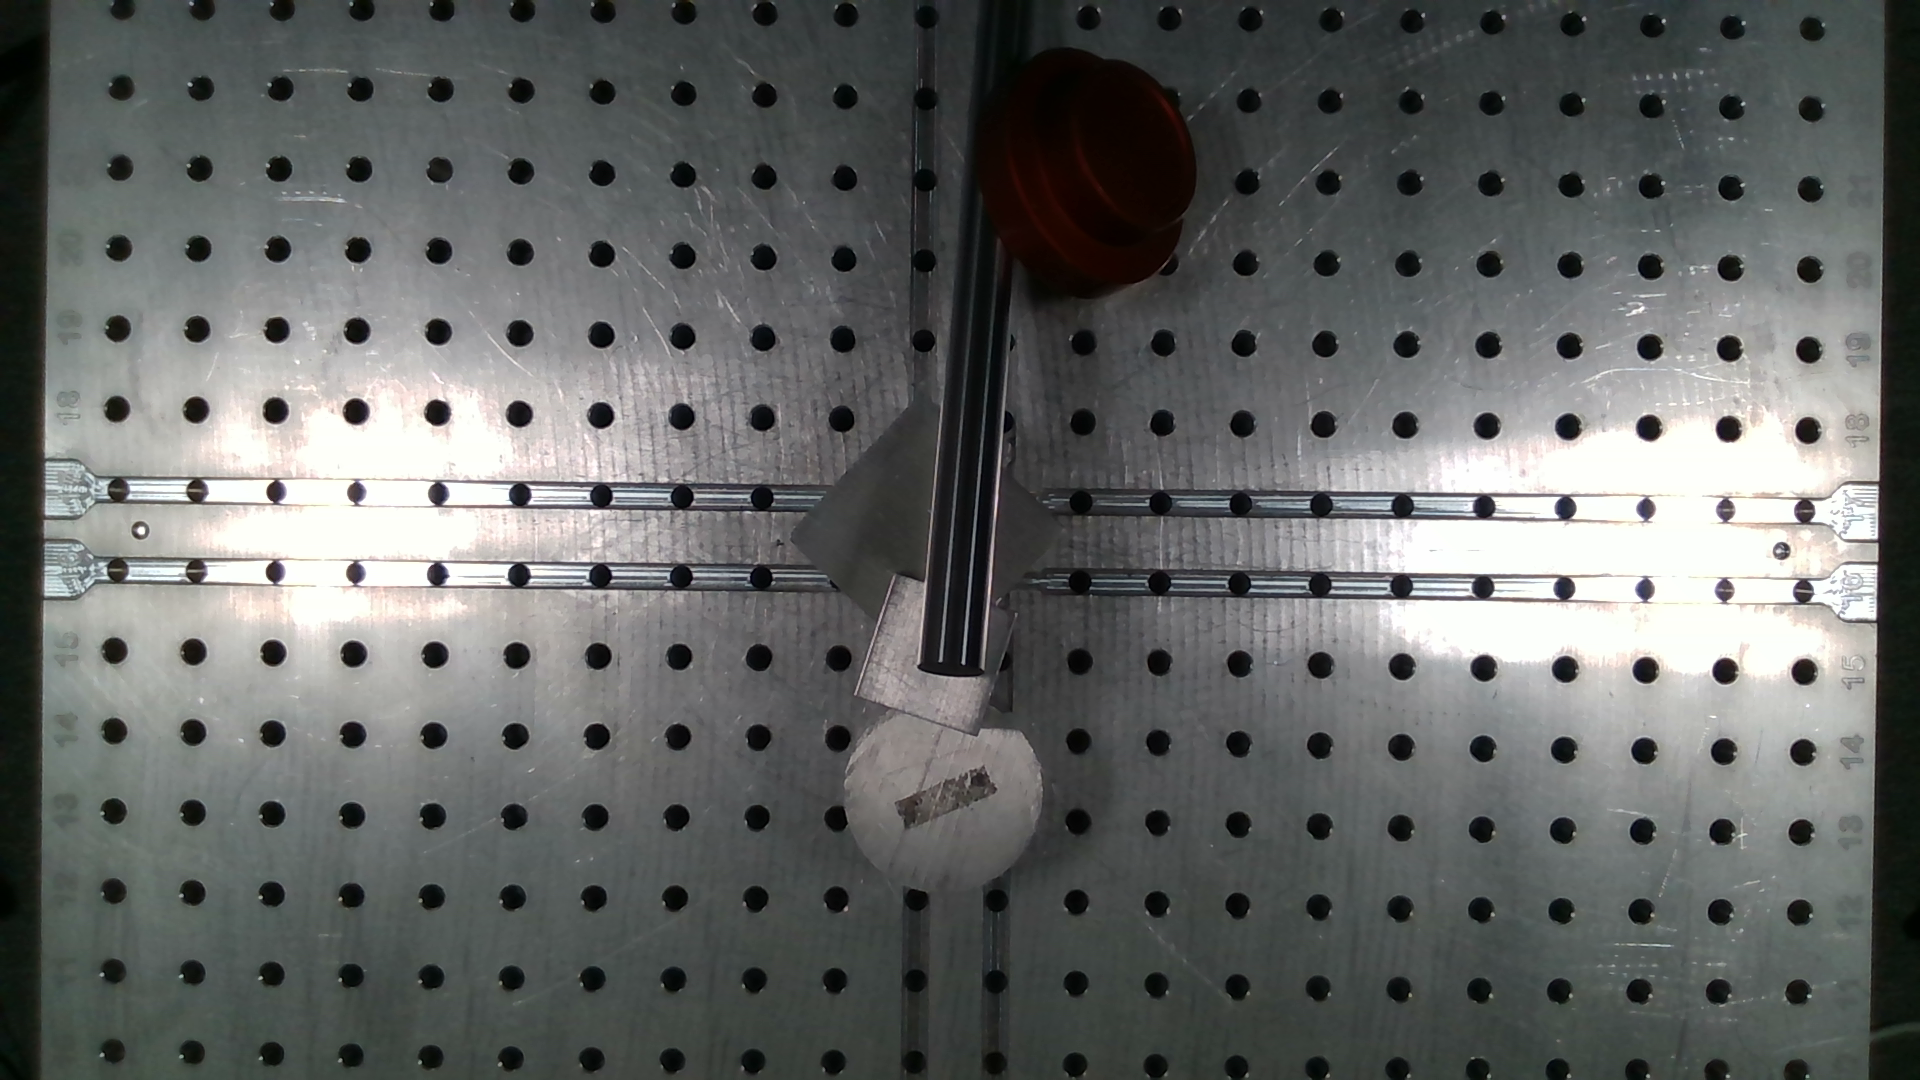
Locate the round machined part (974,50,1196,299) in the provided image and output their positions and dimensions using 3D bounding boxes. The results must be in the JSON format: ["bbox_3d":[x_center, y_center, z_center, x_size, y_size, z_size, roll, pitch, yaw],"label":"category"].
[{"bbox_3d":[0.057,-0.151,0.553,0.098,0.042,0.098,10,73,-36],"label":"round machined part"}]

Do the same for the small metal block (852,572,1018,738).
[{"bbox_3d":[-0.009,0.044,0.538,0.050,0.025,0.050,18,90,0],"label":"small metal block"}]

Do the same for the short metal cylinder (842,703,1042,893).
[{"bbox_3d":[-0.007,0.102,0.578,0.080,0.050,0.080,0,90,0],"label":"short metal cylinder"}]

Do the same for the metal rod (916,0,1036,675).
[{"bbox_3d":[0.009,-0.095,0.545,0.025,0.025,0.299,5,73,0],"label":"metal rod"}]

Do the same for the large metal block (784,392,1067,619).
[{"bbox_3d":[-0.014,-0.002,0.575,0.080,0.050,0.080,44,90,0],"label":"large metal block"}]
